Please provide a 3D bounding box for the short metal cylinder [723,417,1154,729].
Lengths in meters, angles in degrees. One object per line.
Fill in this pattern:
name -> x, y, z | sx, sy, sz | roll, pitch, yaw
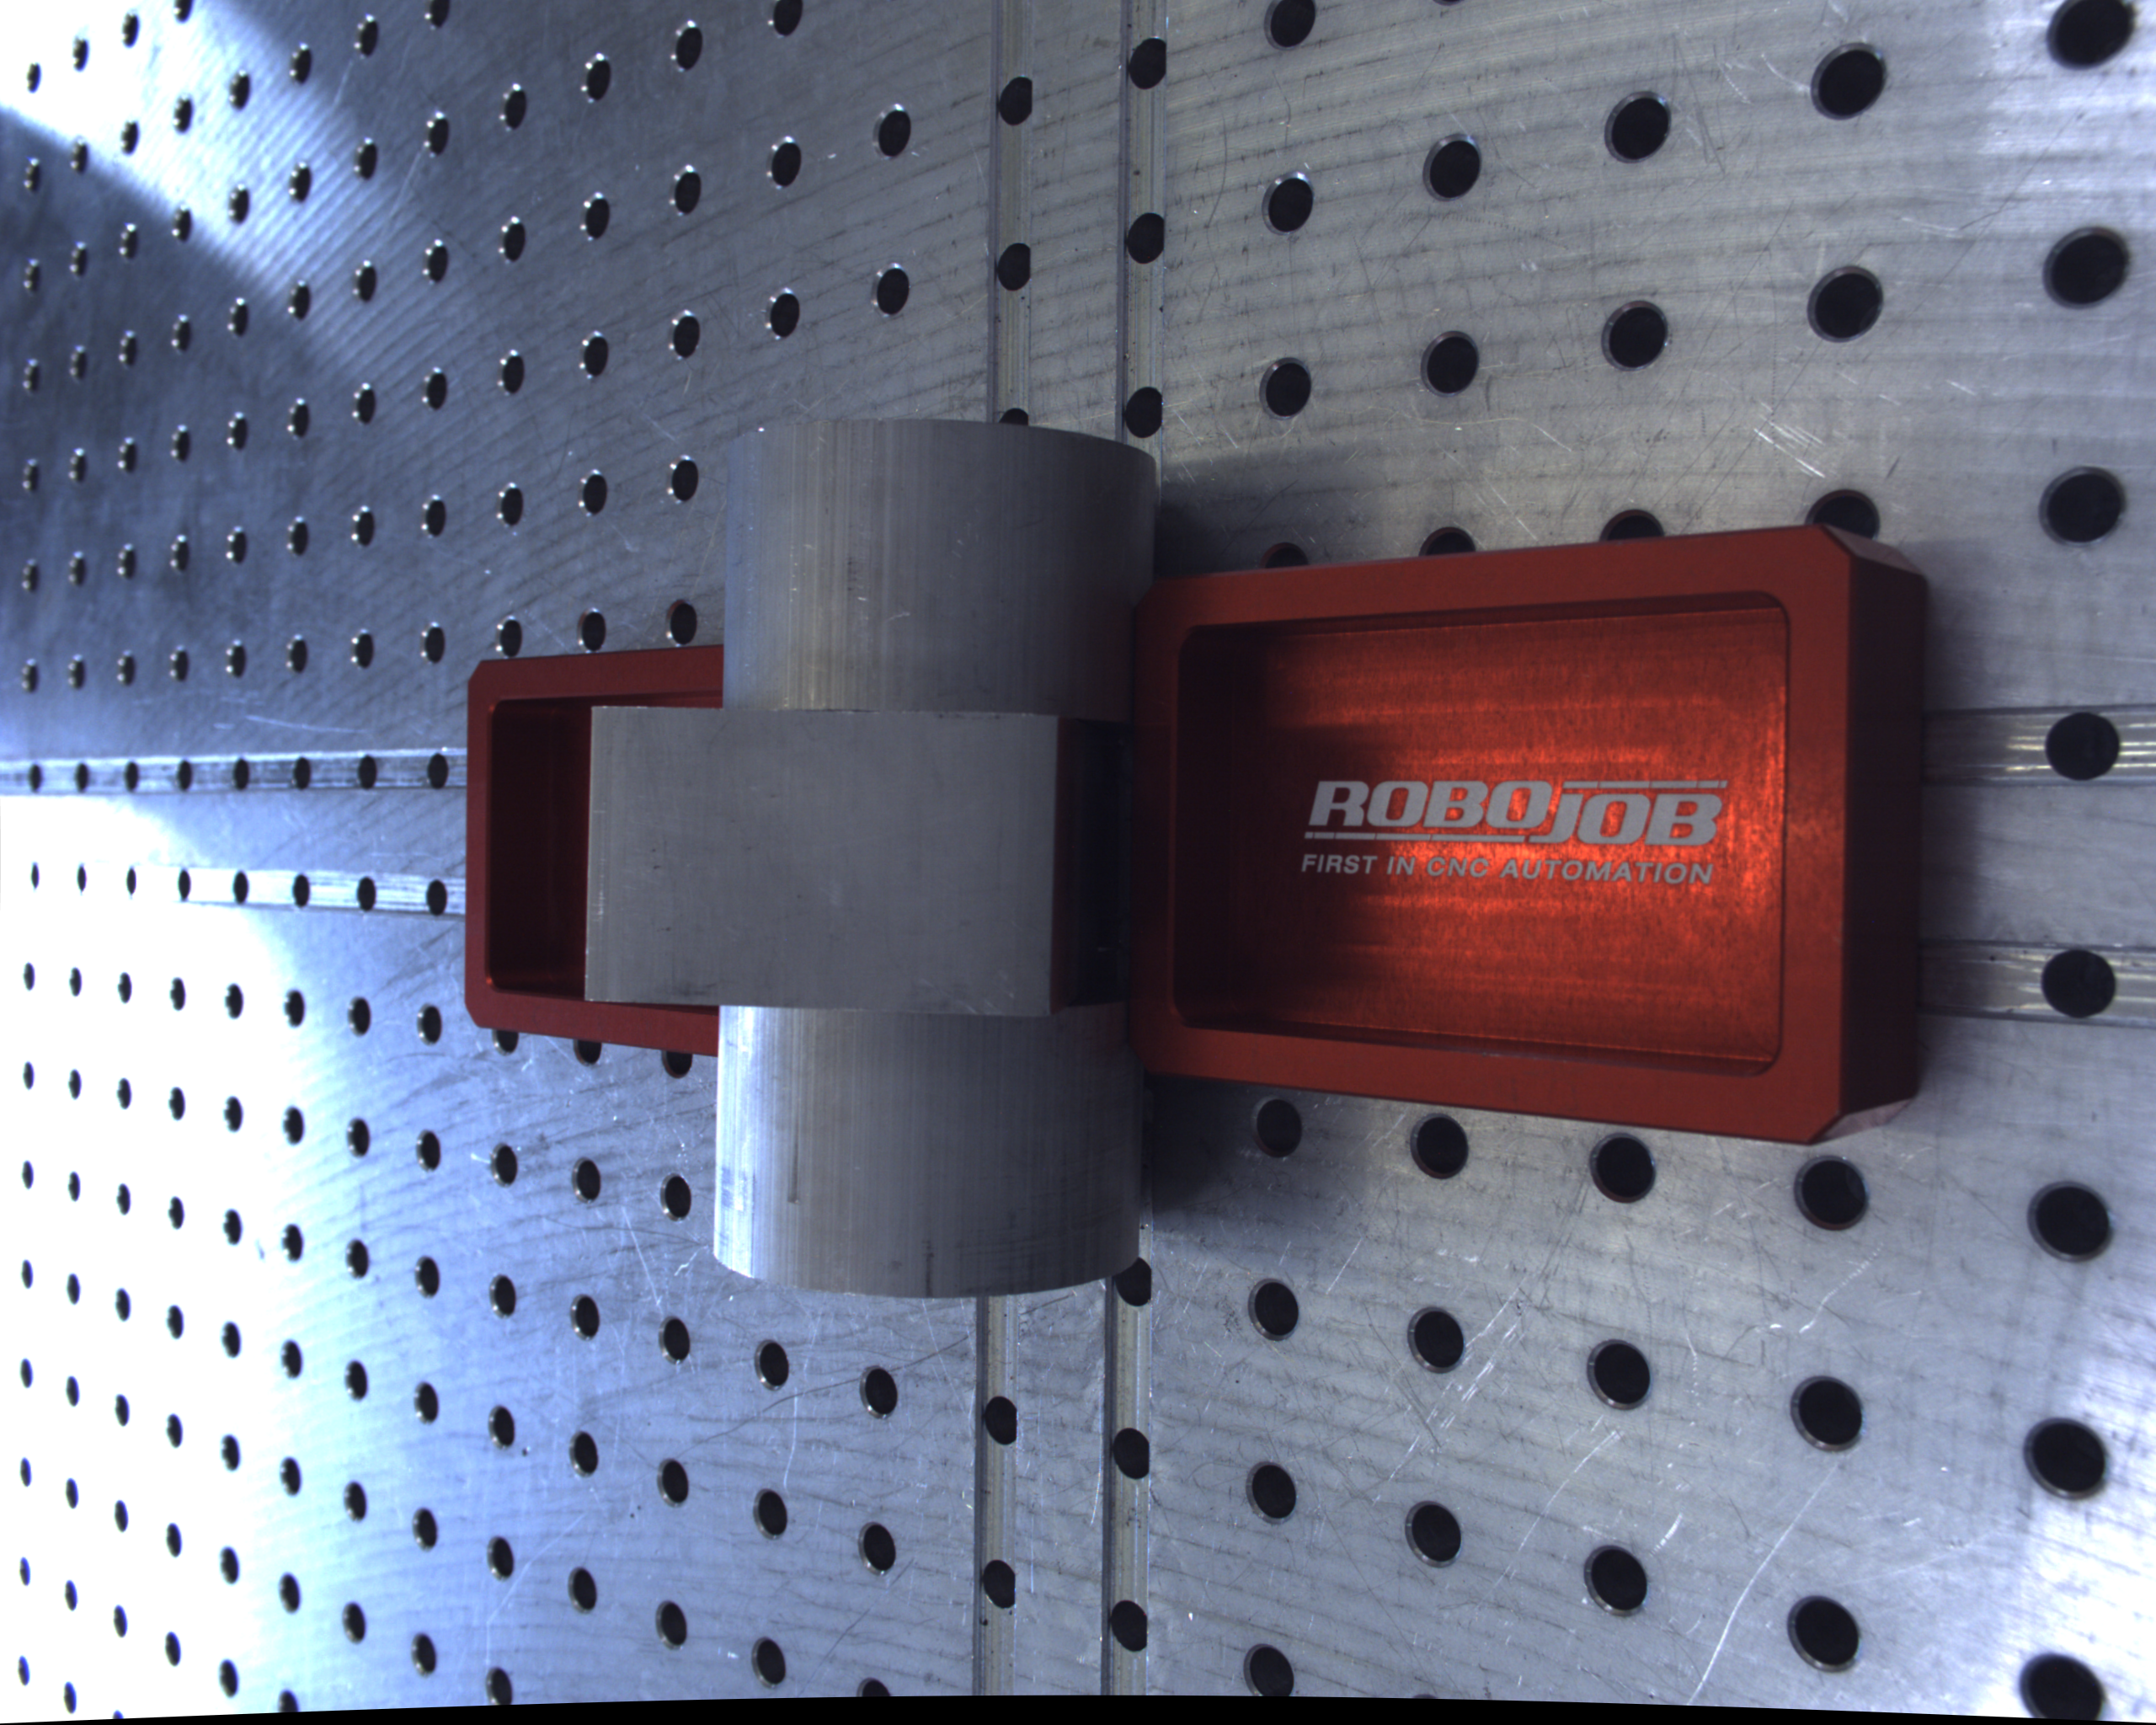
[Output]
short metal cylinder -> -0.026, -0.052, 0.395 | 0.080, 0.081, 0.050 | 2, 91, 40

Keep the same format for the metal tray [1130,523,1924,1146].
metal tray -> 0.069, -0.005, 0.349 | 0.130, 0.030, 0.089 | 1, 91, 40

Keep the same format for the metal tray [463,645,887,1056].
metal tray -> -0.091, -0.003, 0.481 | 0.130, 0.030, 0.089 | 2, 91, 40

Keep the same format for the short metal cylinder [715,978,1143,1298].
short metal cylinder -> -0.028, 0.049, 0.396 | 0.080, 0.081, 0.050 | 3, 92, 40

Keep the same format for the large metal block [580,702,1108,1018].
large metal block -> -0.039, -0.001, 0.387 | 0.080, 0.080, 0.050 | 2, 91, 6
